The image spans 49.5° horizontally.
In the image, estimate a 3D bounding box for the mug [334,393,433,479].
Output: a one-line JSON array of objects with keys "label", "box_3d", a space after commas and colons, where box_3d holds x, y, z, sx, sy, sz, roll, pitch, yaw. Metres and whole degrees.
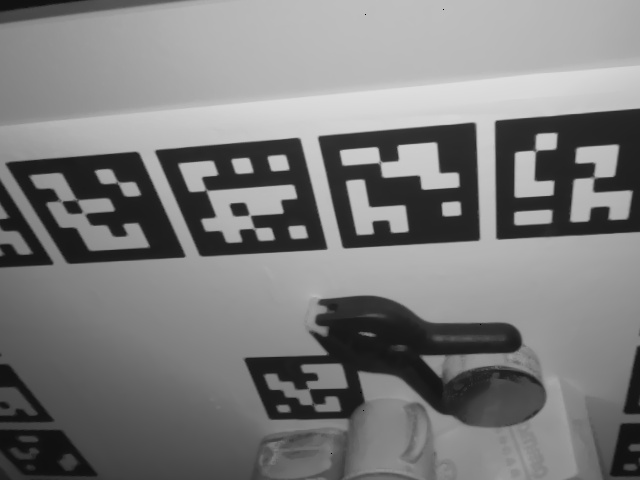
[{"label": "mug", "box_3d": [0.065, 0.186, 0.622, 0.093, 0.082, 0.115, 18, 127, -6]}]

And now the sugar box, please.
[{"label": "sugar box", "box_3d": [0.159, 0.193, 0.620, 0.045, 0.094, 0.174, 40, 125, -24]}]

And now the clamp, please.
[{"label": "clamp", "box_3d": [0.071, 0.067, 0.566, 0.166, 0.037, 0.120, 28, 131, -10]}]

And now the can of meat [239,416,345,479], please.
[{"label": "can of meat", "box_3d": [-0.026, 0.223, 0.673, 0.101, 0.084, 0.057, -7, 128, 15]}]

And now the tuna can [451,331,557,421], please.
[{"label": "tuna can", "box_3d": [0.153, 0.111, 0.584, 0.085, 0.034, 0.085, 3, 127, 5]}]
